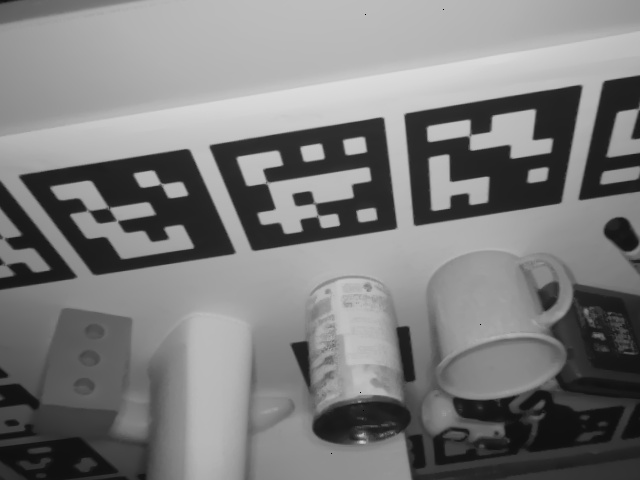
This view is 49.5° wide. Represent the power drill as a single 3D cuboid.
[{"bbox_3d":[0.223,0.128,0.628,0.186,0.058,0.184,11,136,-12],"label":"power drill"}]

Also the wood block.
[{"bbox_3d":[0.014,0.240,0.698,0.206,0.091,0.089,-12,136,7],"label":"wood block"}]

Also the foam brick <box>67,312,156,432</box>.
[{"bbox_3d":[-0.163,0.104,0.544,0.053,0.078,0.050,11,137,-19],"label":"foam brick"}]

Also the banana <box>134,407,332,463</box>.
[{"bbox_3d":[-0.086,0.181,0.658,0.198,0.039,0.073,1,123,-4],"label":"banana"}]

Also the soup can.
[{"bbox_3d":[0.040,0.090,0.520,0.068,0.103,0.067,-2,141,-1],"label":"soup can"}]

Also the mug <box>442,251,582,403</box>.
[{"bbox_3d":[0.144,0.055,0.516,0.094,0.082,0.115,21,128,-23],"label":"mug"}]

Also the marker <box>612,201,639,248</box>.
[{"bbox_3d":[0.254,0.006,0.525,0.019,0.020,0.122,-36,128,26],"label":"marker"}]

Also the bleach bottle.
[{"bbox_3d":[-0.071,0.183,0.509,0.068,0.252,0.101,9,137,-15],"label":"bleach bottle"}]
